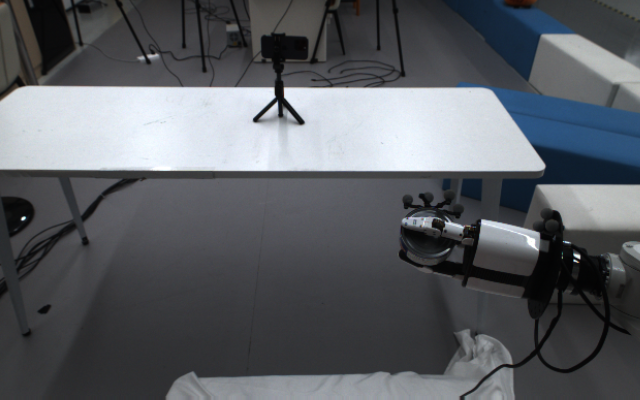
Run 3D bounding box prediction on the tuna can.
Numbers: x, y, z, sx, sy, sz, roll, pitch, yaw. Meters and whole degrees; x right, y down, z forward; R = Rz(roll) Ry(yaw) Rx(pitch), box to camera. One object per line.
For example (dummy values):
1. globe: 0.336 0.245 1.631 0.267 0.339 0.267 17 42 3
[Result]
1. tuna can: 0.165 0.050 0.737 0.085 0.034 0.085 -2 56 3
